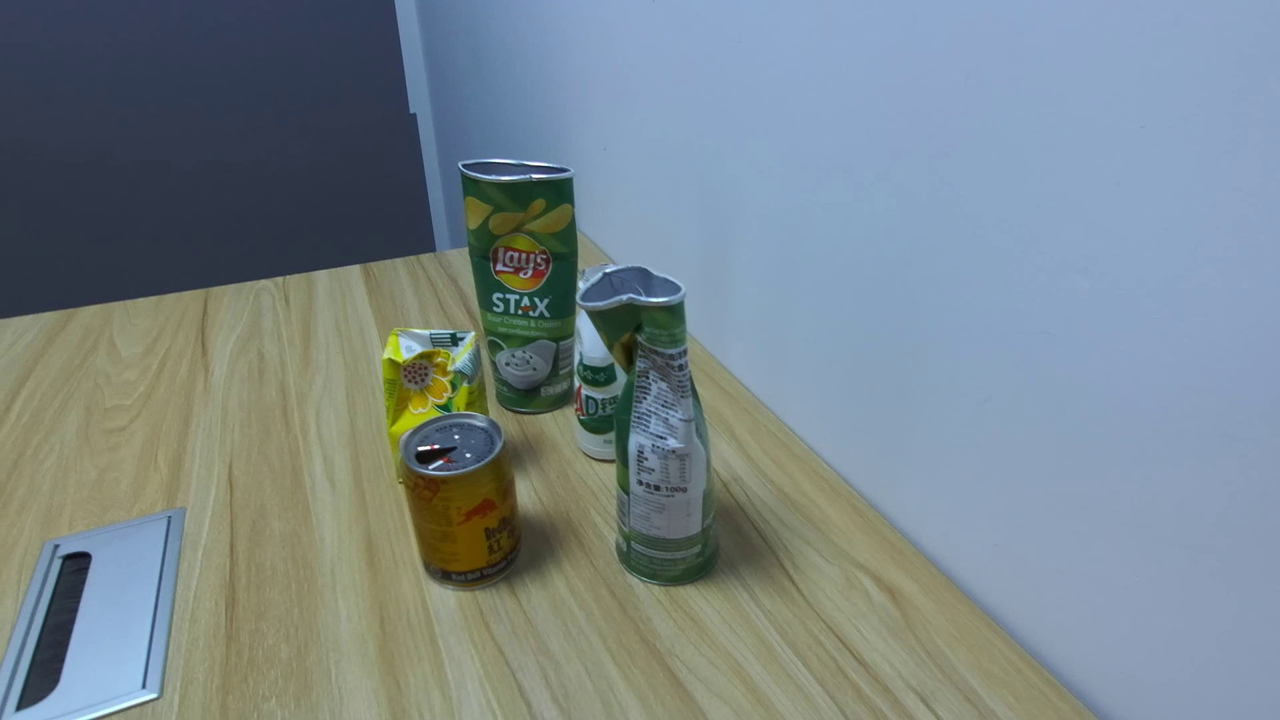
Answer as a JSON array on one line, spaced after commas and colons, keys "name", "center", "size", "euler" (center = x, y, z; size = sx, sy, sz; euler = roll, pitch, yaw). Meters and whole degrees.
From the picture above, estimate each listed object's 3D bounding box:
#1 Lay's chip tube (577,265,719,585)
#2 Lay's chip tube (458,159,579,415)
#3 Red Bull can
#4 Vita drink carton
[{"name": "Lay's chip tube", "center": [0.007, 0.040, 0.422], "size": [0.071, 0.199, 0.079], "euler": [-2, 29, 11]}, {"name": "Lay's chip tube", "center": [-0.092, -0.057, 0.577], "size": [0.075, 0.200, 0.068], "euler": [-14, 33, -21]}, {"name": "Red Bull can", "center": [-0.111, 0.088, 0.445], "size": [0.067, 0.093, 0.067], "euler": [1, 32, 0]}, {"name": "Vita drink carton", "center": [-0.149, 0.036, 0.515], "size": [0.071, 0.110, 0.046], "euler": [2, 30, 5]}]
